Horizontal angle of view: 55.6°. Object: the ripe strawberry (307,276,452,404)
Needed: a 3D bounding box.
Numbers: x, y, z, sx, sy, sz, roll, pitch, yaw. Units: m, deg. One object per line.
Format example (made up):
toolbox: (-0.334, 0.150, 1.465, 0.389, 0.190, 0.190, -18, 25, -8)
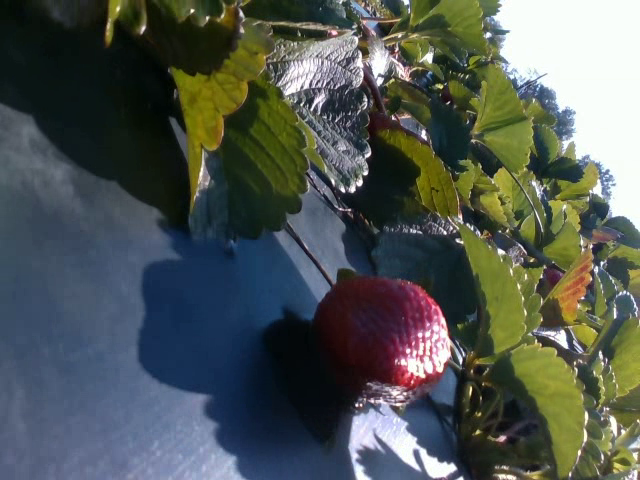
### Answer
ripe strawberry: (0.015, 0.029, 0.163, 0.045, 0.041, 0.056, 8, 5, 9)
